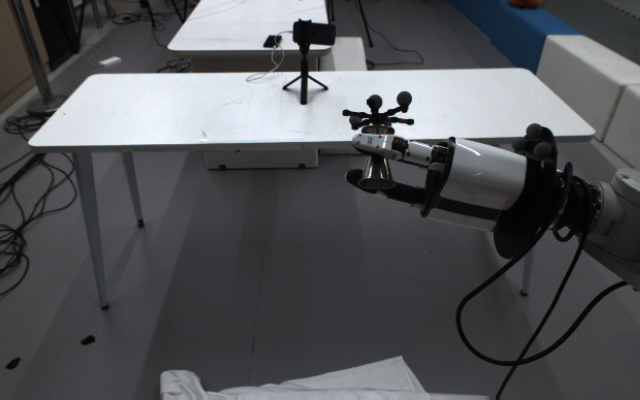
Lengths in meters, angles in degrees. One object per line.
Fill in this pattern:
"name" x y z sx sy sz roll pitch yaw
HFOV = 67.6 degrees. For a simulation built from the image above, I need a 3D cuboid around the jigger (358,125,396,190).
"jigger" 0.067 -0.051 0.577 0.043 0.043 0.071 3 75 1
